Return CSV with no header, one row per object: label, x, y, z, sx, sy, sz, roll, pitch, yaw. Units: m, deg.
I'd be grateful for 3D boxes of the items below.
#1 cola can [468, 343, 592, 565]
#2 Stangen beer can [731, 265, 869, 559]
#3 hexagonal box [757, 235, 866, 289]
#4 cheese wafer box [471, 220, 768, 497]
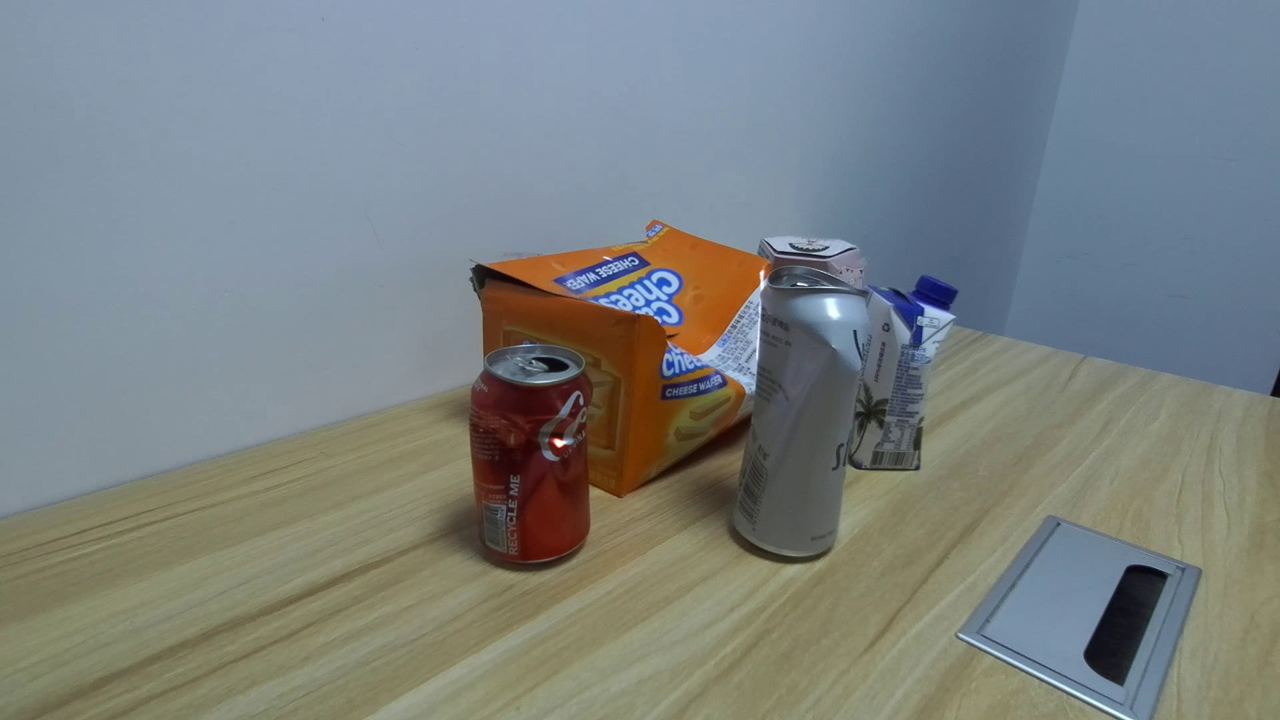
cola can,-0.060,0.052,0.400,0.066,0.117,0.066,2,22,-1
Stangen beer can,0.092,0.032,0.407,0.076,0.162,0.066,17,25,33
hexagonal box,0.155,-0.043,0.662,0.090,0.134,0.091,-11,24,-24
cheese wafer box,0.012,-0.016,0.558,0.190,0.145,0.220,16,24,35
